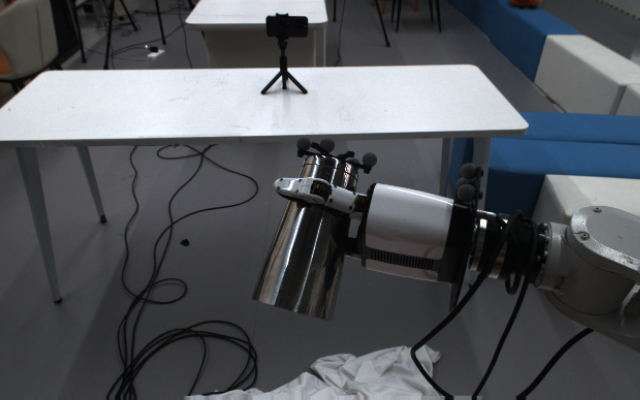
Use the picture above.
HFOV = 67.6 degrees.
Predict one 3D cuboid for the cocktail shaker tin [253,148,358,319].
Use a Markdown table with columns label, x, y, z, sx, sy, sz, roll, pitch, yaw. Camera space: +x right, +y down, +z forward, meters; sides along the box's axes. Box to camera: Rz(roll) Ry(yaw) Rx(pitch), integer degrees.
| label | x | y | z | sx | sy | sz | roll | pitch | yaw |
| --- | --- | --- | --- | --- | --- | --- | --- | --- | --- |
| cocktail shaker tin | -0.006 | 0.038 | 0.545 | 0.093 | 0.093 | 0.170 | 13 | 76 | 15 |
